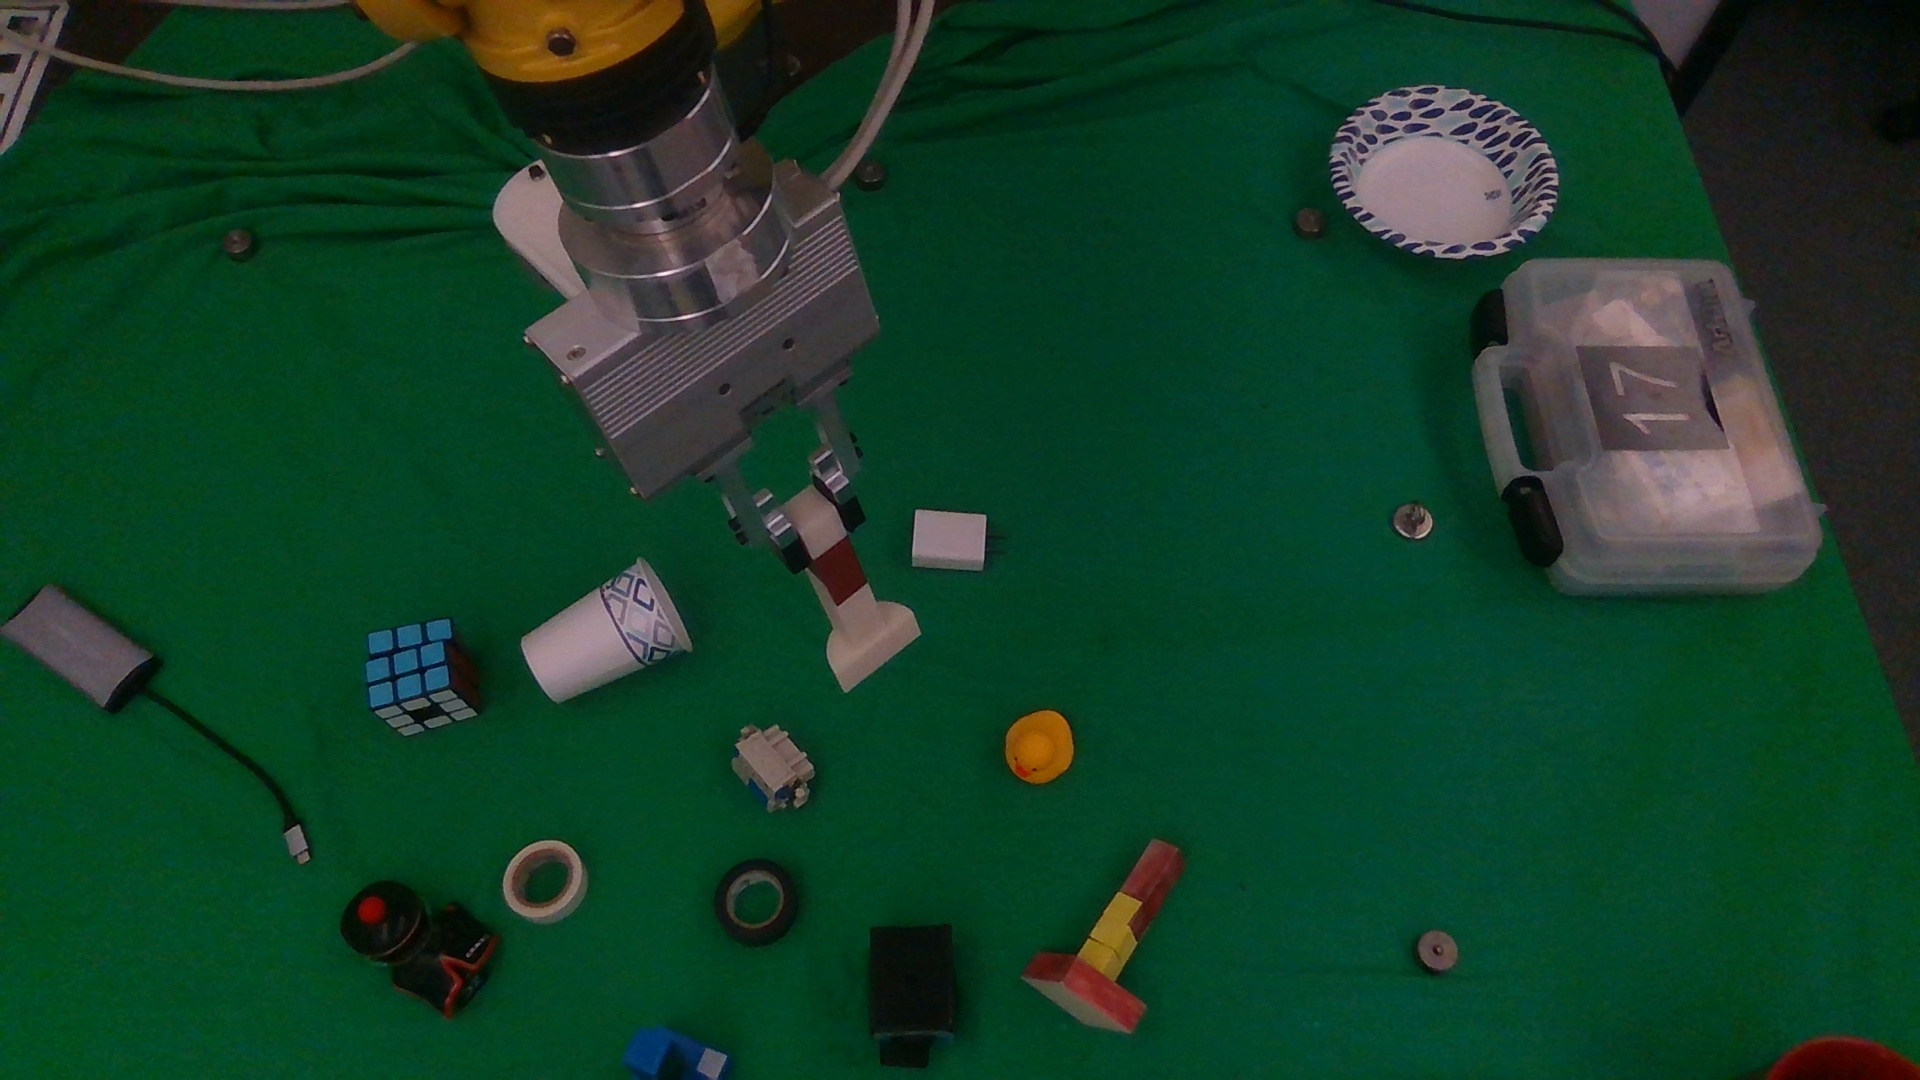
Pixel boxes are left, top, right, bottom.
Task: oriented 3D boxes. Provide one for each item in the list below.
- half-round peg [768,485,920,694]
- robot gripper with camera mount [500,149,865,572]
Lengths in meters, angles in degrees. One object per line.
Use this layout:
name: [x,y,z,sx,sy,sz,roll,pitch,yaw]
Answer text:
half-round peg: [-0.059,0.020,0.656,0.054,0.121,0.031,-35,50,-13]
robot gripper with camera mount: [-0.136,-0.091,0.613,0.119,0.158,0.194,-35,55,-15]
